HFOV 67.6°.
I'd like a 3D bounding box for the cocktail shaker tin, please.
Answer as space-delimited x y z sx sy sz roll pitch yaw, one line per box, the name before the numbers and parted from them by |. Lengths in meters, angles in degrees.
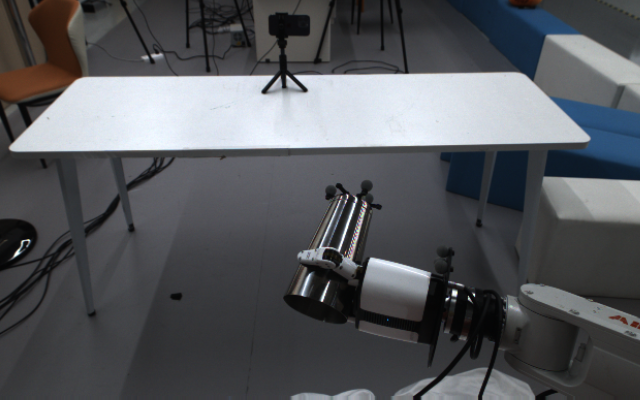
cocktail shaker tin | 0.018 0.078 0.690 0.093 0.093 0.170 14 60 16
